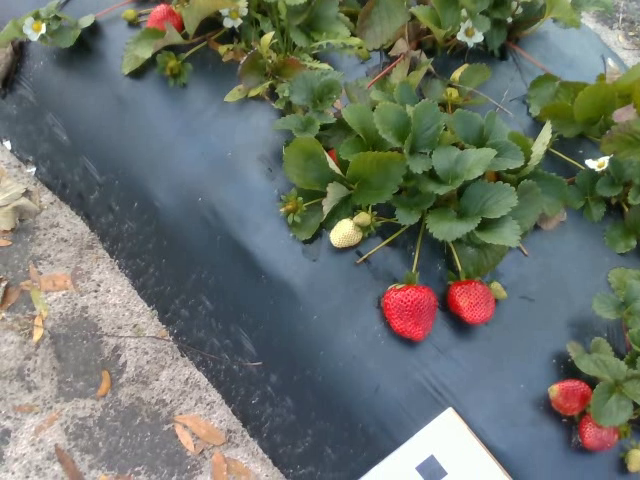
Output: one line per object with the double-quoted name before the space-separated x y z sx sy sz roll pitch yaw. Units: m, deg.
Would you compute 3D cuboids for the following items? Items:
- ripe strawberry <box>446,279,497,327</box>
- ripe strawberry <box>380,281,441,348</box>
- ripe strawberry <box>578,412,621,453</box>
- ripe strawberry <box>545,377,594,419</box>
"ripe strawberry" 0.159 0.067 0.627 0.051 0.051 0.059 -19 30 19
"ripe strawberry" 0.094 0.076 0.618 0.058 0.065 0.043 -14 -26 19
"ripe strawberry" 0.262 0.186 0.574 0.044 0.041 0.049 45 35 16
"ripe strawberry" 0.242 0.154 0.595 0.053 0.047 0.039 24 8 -15
